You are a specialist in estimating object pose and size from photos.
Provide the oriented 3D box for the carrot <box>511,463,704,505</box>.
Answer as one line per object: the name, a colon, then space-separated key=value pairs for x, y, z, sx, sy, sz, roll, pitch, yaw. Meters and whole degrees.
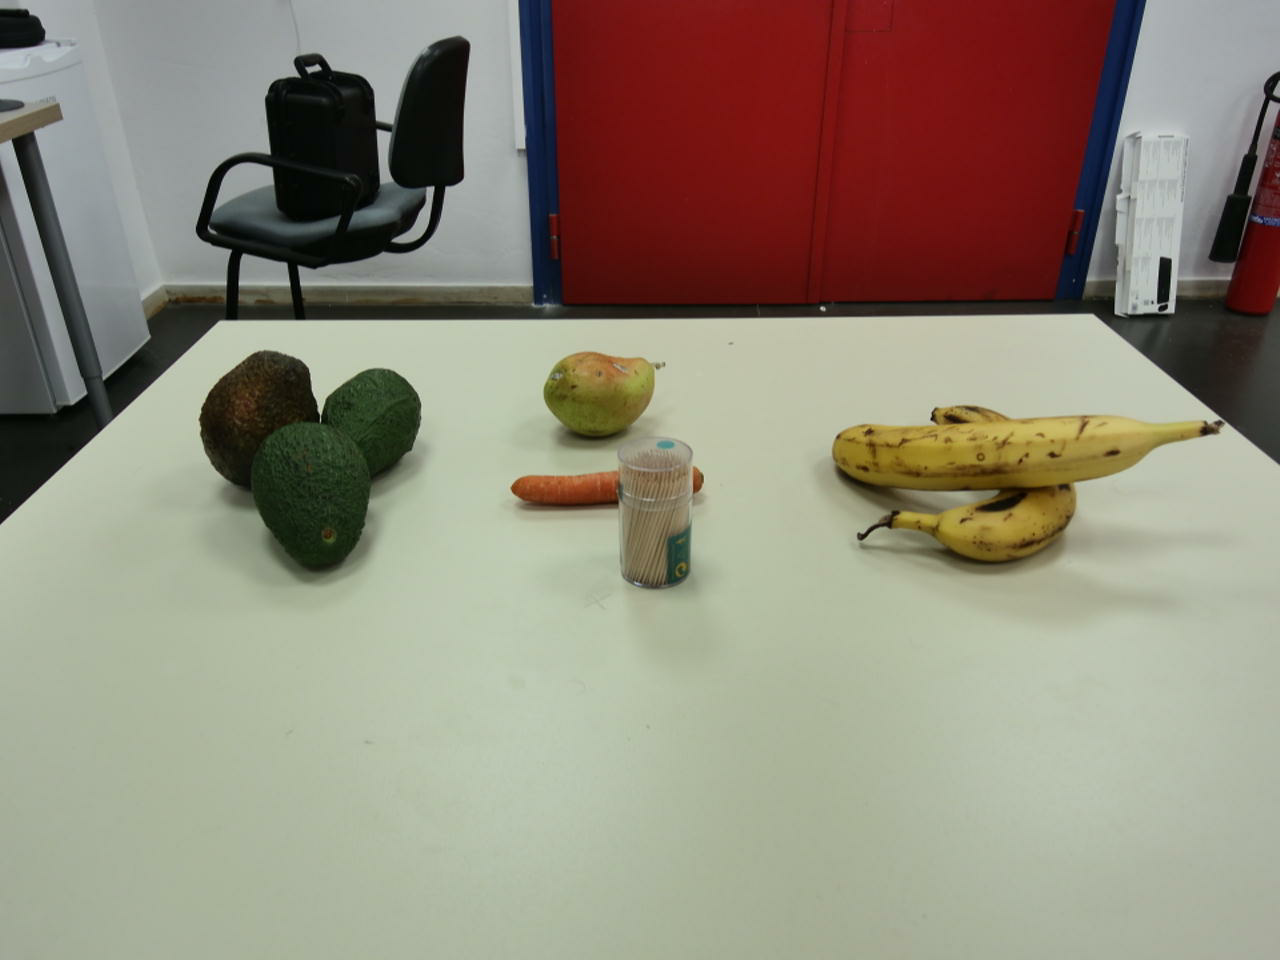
carrot: x=-0.021 y=0.003 z=0.632 sx=0.122 sy=0.023 sz=0.024 roll=-2 pitch=27 yaw=-3
